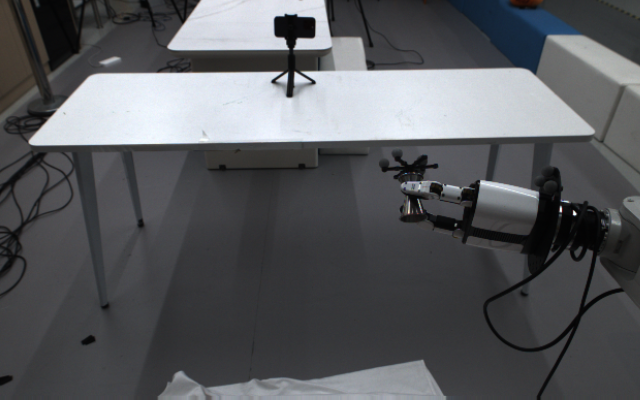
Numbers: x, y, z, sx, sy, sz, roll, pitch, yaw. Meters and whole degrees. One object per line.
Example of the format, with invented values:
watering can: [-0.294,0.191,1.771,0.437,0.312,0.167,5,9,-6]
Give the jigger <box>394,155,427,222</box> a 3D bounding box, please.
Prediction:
jigger: [0.142,-0.006,0.746,0.043,0.043,0.071,1,70,-2]
